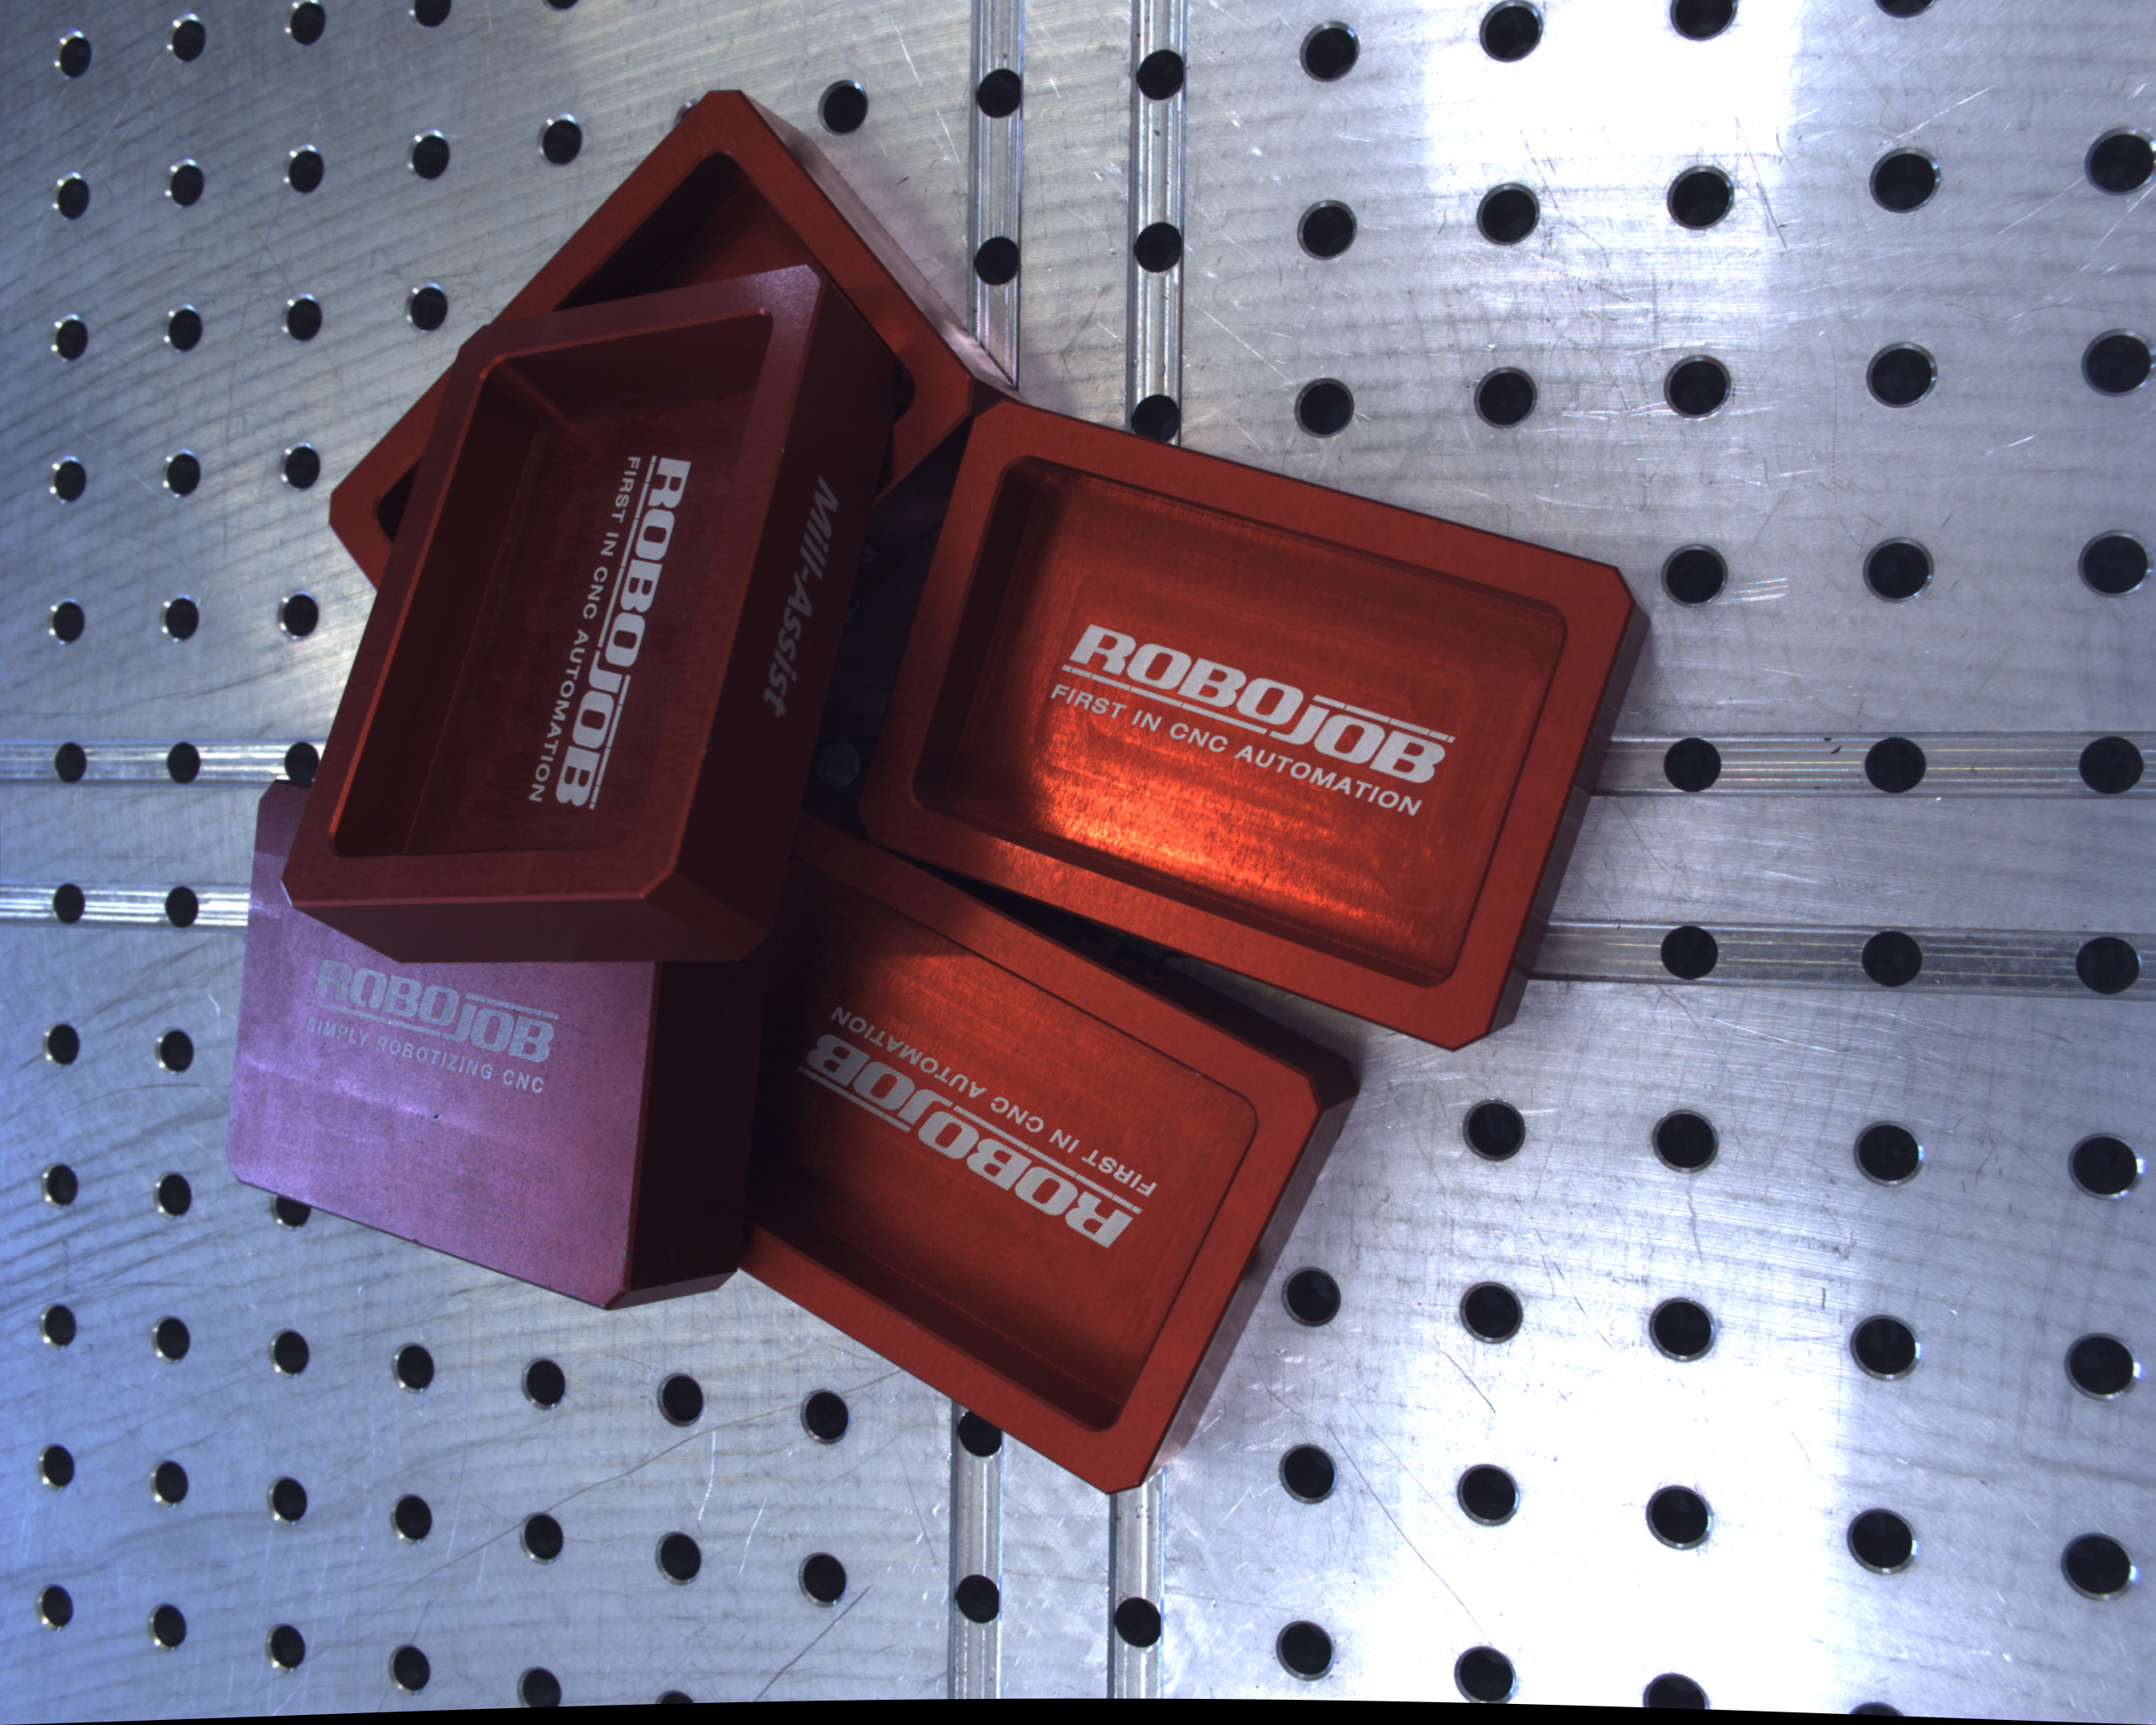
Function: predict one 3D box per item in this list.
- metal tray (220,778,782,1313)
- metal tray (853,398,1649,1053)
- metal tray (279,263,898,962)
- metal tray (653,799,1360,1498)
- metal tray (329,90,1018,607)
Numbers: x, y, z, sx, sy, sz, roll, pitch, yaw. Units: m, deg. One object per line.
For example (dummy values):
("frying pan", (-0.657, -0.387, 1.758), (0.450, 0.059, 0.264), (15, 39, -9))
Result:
("metal tray", (-0.124, 0.033, 0.436), (0.130, 0.030, 0.090), (8, 94, 34))
("metal tray", (0.031, -0.028, 0.398), (0.130, 0.030, 0.090), (19, 97, 18))
("metal tray", (-0.091, -0.047, 0.397), (0.090, 0.030, 0.130), (-2, 65, 27))
("metal tray", (-0.022, 0.053, 0.417), (0.130, 0.030, 0.090), (27, 99, 18))
("metal tray", (-0.086, -0.083, 0.440), (0.130, 0.030, 0.090), (-41, 76, 15))
